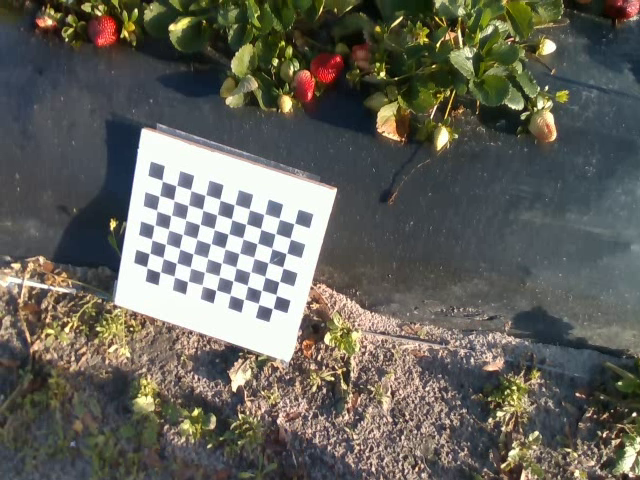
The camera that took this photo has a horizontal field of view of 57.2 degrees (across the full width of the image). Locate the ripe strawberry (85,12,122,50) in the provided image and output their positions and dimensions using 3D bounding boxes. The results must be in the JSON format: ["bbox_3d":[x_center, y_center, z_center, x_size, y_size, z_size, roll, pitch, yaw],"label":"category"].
[{"bbox_3d":[-0.323,-0.289,0.851,0.052,0.052,0.041,-13,-45,11],"label":"ripe strawberry"}]
